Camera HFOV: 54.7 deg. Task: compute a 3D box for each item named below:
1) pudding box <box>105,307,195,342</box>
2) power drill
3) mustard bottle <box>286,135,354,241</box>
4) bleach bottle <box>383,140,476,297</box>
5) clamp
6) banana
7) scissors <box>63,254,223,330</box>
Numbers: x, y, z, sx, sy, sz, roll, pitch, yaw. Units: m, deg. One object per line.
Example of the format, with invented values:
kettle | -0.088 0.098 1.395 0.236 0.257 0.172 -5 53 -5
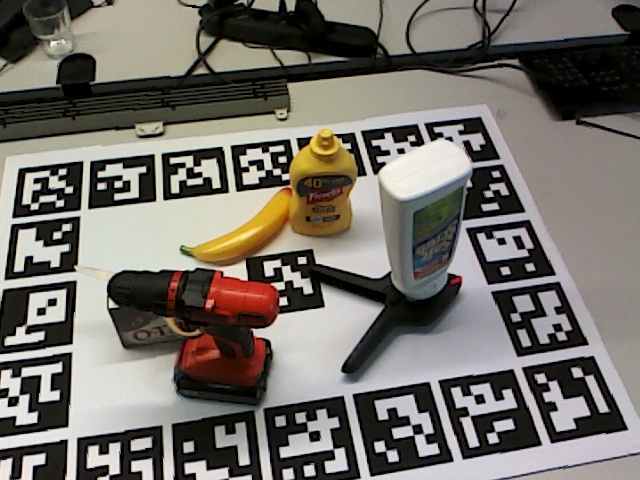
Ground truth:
pudding box | -0.216 0.092 0.811 0.114 0.090 0.039 -4 47 -5
power drill | -0.142 0.107 0.706 0.185 0.186 0.057 2 47 4
mustard bottle | 0.000 -0.075 0.881 0.096 0.191 0.058 5 54 1
bleach bottle | 0.132 -0.004 0.774 0.102 0.250 0.068 -27 55 -11
clamp | 0.097 0.075 0.845 0.202 0.036 0.166 -12 57 -12
banana | -0.111 -0.034 0.930 0.075 0.038 0.197 25 56 36
scissors | -0.224 0.050 0.762 0.203 0.016 0.088 16 59 4
